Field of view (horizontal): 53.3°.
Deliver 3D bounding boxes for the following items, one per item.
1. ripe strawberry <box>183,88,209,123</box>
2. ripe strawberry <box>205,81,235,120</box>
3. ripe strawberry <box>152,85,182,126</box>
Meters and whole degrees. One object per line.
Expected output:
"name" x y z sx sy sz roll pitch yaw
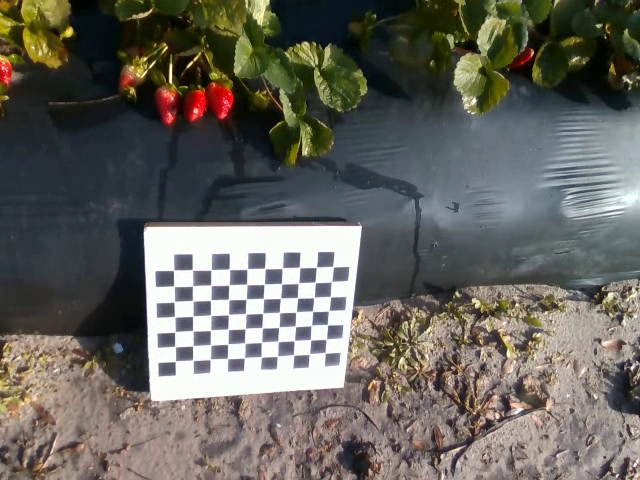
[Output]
"ripe strawberry" -0.140 -0.151 0.689 0.031 0.039 0.037 9 -44 -13
"ripe strawberry" -0.112 -0.153 0.697 0.035 0.041 0.034 -5 -28 -8
"ripe strawberry" -0.169 -0.152 0.690 0.032 0.046 0.023 -1 7 -10
